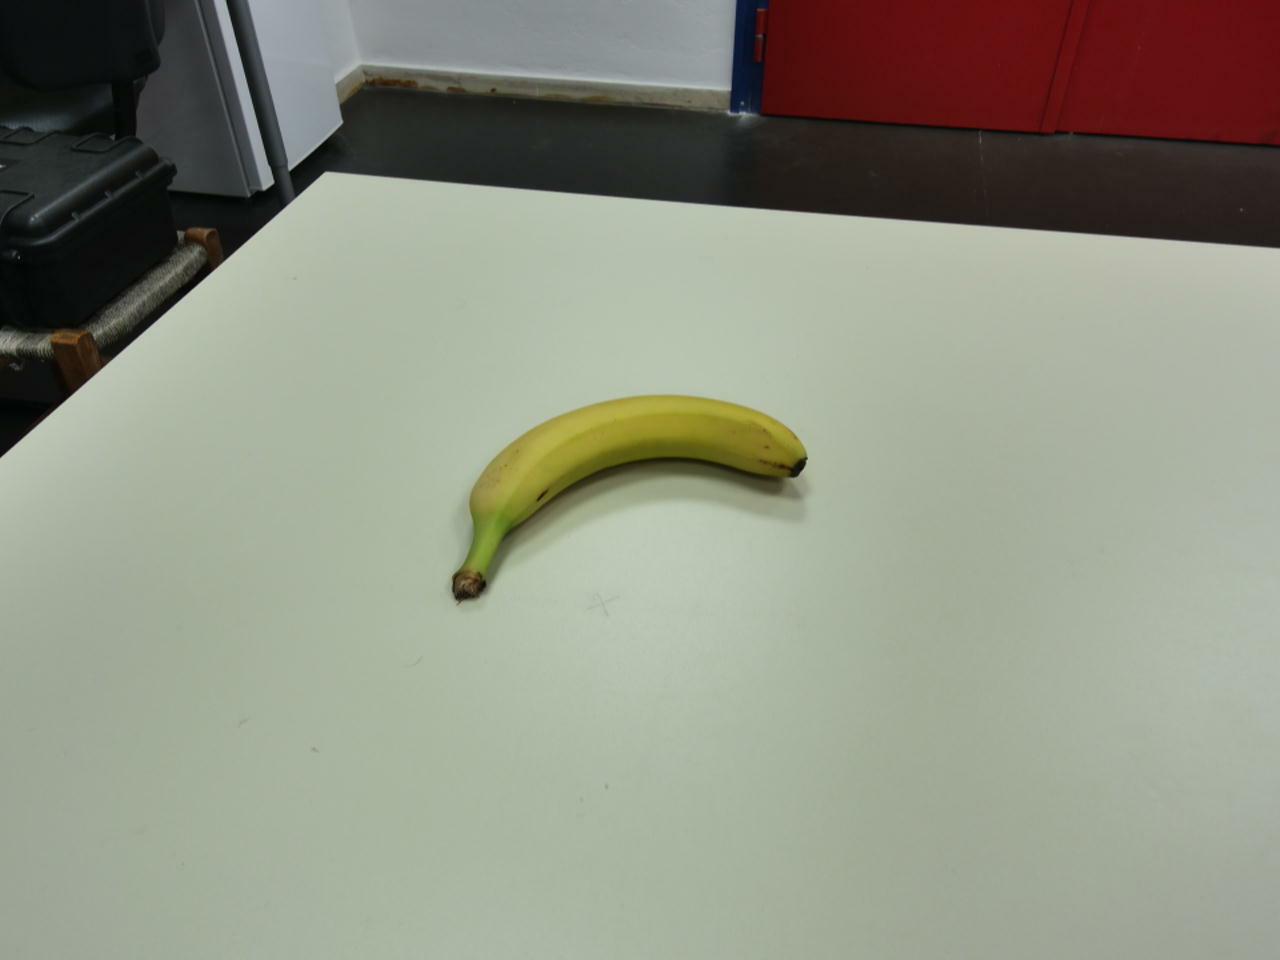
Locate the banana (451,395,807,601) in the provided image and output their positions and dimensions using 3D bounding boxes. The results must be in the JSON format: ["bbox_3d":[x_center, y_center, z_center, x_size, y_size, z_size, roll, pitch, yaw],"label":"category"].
[{"bbox_3d":[-0.015,-0.007,0.530,0.196,0.041,0.094,-15,41,-18],"label":"banana"}]
